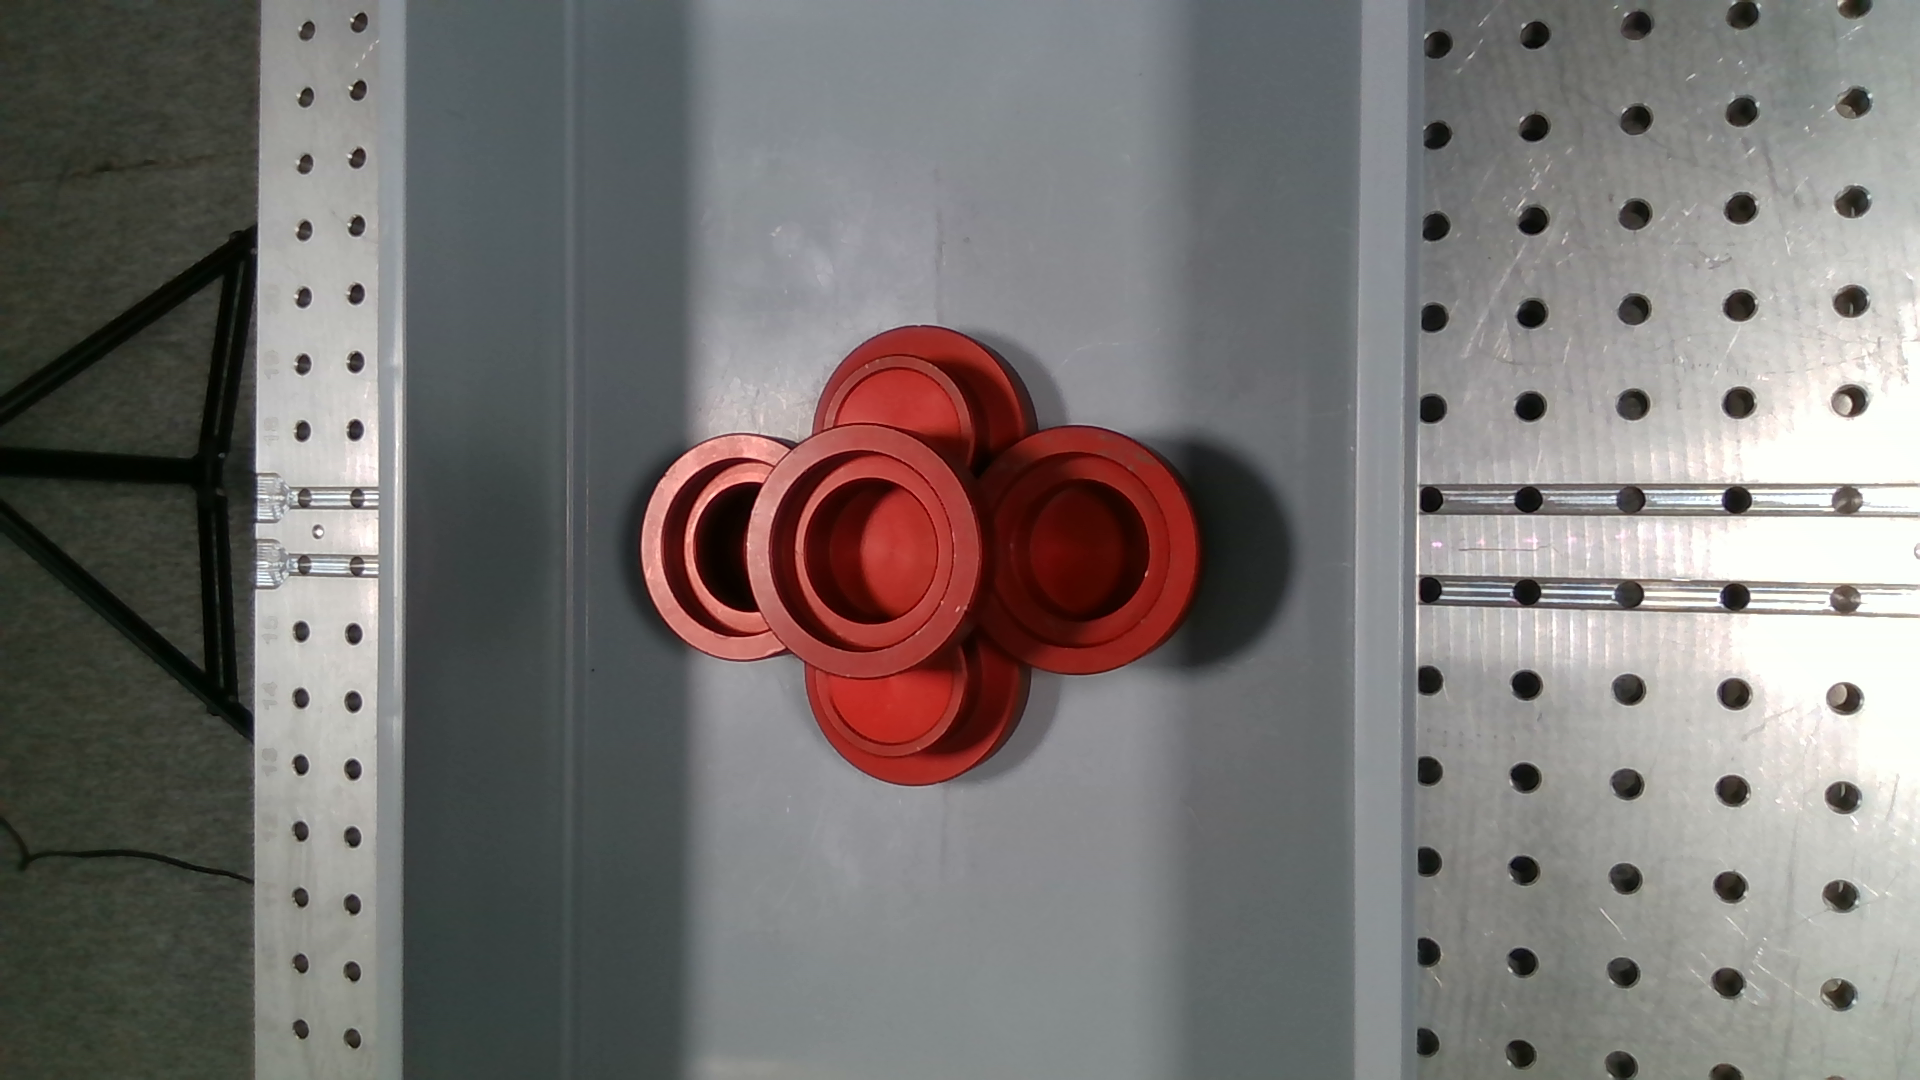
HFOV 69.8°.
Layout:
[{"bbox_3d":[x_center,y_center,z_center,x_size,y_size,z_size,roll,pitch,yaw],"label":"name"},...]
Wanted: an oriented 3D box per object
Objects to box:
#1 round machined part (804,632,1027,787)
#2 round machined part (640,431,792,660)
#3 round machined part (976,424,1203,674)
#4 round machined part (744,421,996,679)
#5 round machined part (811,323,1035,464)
[{"bbox_3d":[-0.023,0.056,0.583,0.098,0.042,0.098,0,91,20],"label":"round machined part"},{"bbox_3d":[-0.088,0.002,0.607,0.098,0.042,0.098,0,91,20],"label":"round machined part"},{"bbox_3d":[0.051,0.003,0.556,0.098,0.042,0.098,0,91,20],"label":"round machined part"},{"bbox_3d":[-0.032,0.004,0.542,0.098,0.042,0.098,0,91,20],"label":"round machined part"},{"bbox_3d":[-0.020,-0.043,0.582,0.098,0.042,0.098,0,91,20],"label":"round machined part"}]
